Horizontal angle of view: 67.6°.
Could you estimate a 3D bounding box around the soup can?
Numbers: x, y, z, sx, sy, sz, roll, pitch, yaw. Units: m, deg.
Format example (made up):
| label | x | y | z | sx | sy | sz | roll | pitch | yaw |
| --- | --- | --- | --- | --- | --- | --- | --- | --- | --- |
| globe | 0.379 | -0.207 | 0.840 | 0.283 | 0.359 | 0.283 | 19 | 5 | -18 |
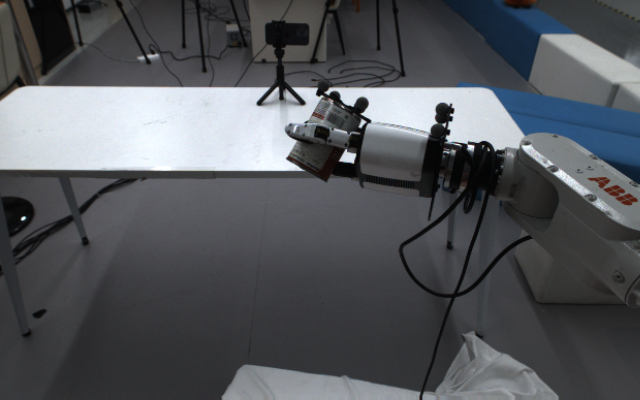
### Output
| label | x | y | z | sx | sy | sz | roll | pitch | yaw |
| --- | --- | --- | --- | --- | --- | --- | --- | --- | --- |
| soup can | 0.005 | -0.086 | 0.688 | 0.067 | 0.101 | 0.067 | 30 | 2 | -1 |
